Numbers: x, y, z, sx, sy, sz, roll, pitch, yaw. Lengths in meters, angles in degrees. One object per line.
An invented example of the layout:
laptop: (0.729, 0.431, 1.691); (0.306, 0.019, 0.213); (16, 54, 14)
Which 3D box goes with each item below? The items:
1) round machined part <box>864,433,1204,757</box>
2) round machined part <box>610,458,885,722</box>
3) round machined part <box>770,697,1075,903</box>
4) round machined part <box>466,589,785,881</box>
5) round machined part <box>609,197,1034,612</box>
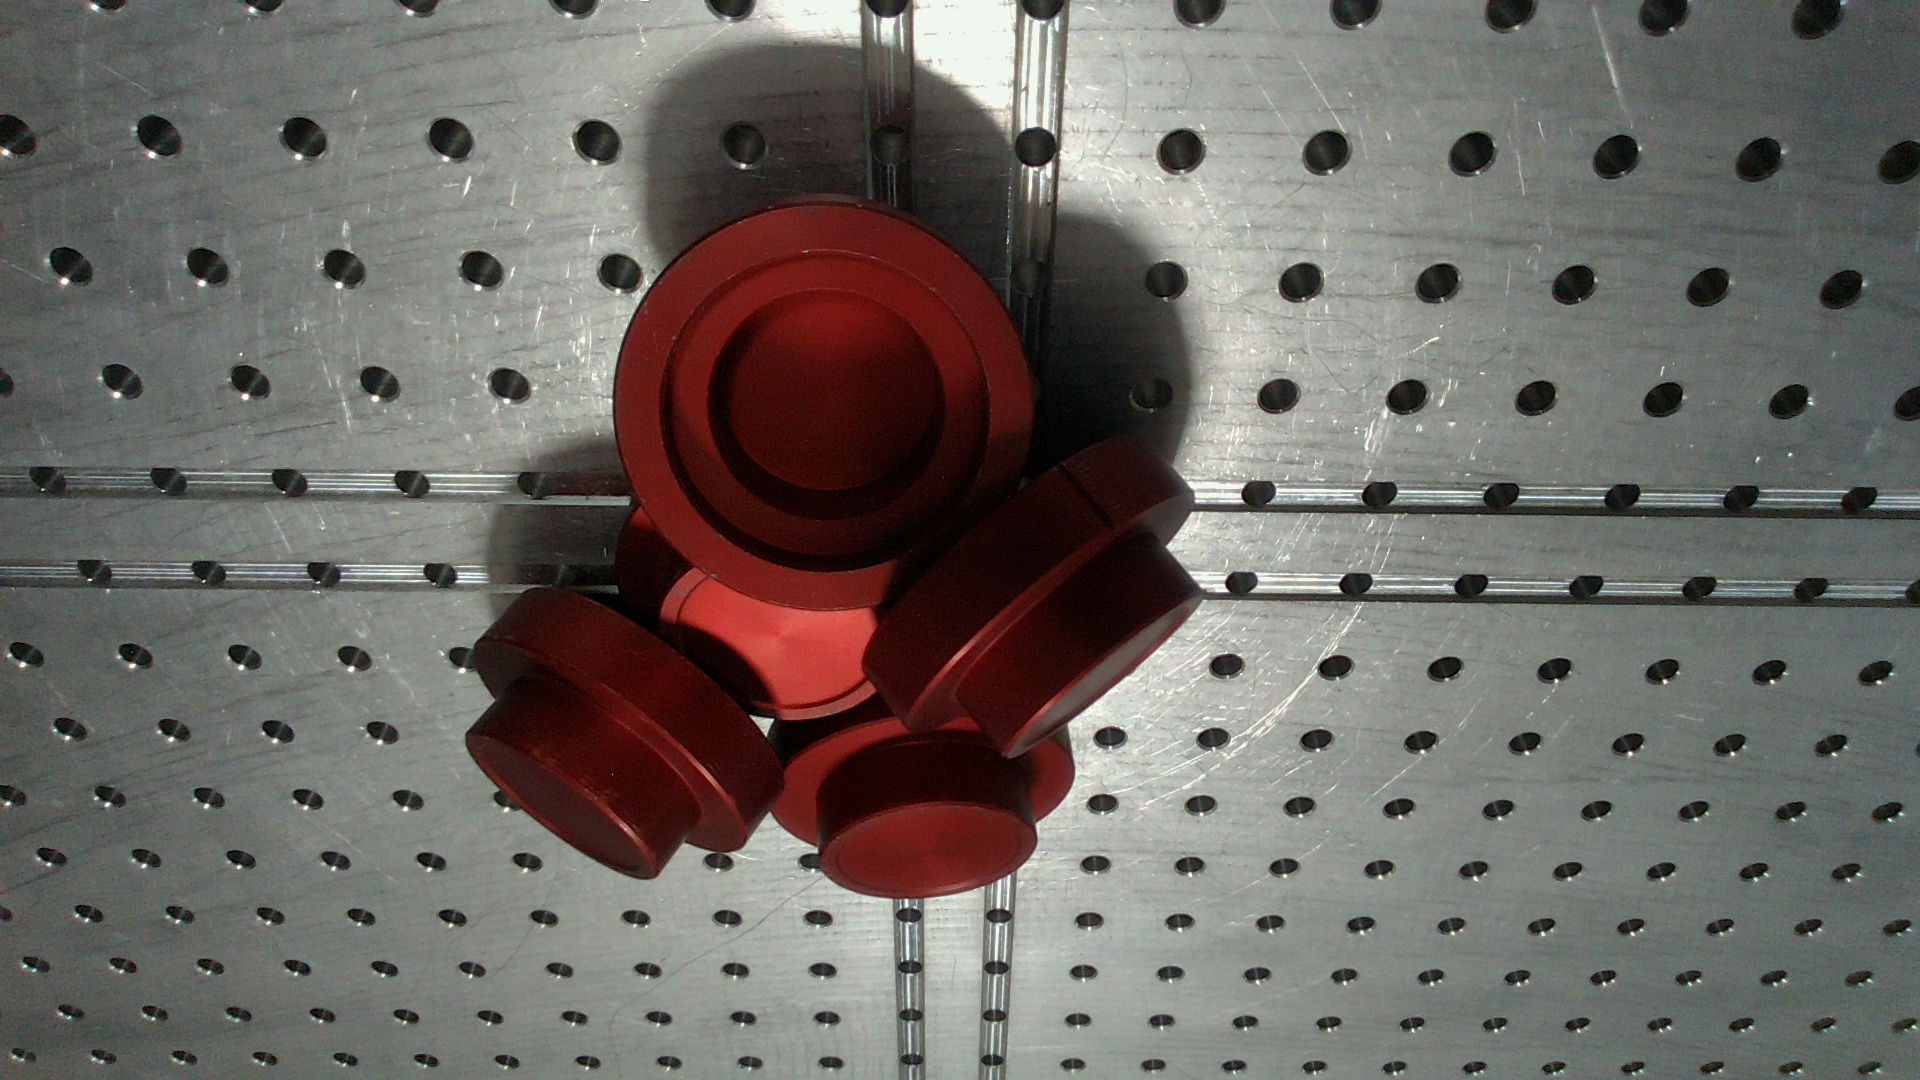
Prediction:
round machined part: (0.026, 0.020, 0.361); (0.042, 0.098, 0.098); (50, 123, 14)
round machined part: (-0.051, 0.014, 0.393); (0.098, 0.042, 0.098); (0, 130, 0)
round machined part: (-0.012, 0.081, 0.434); (0.098, 0.042, 0.098); (-5, 142, -4)
round machined part: (-0.104, 0.063, 0.404); (0.098, 0.042, 0.098); (25, 148, 17)
round machined part: (-0.033, -0.035, 0.338); (0.098, 0.042, 0.098); (-2, 109, -5)
